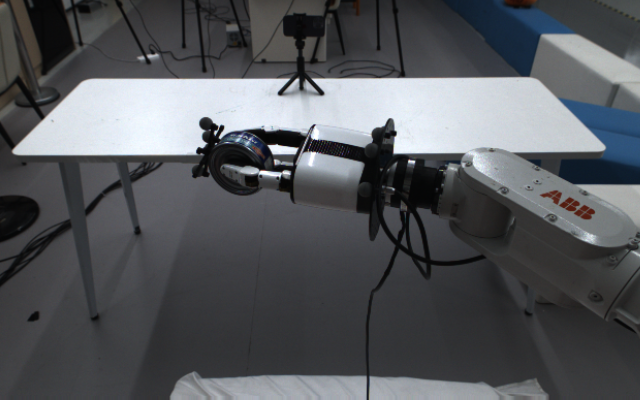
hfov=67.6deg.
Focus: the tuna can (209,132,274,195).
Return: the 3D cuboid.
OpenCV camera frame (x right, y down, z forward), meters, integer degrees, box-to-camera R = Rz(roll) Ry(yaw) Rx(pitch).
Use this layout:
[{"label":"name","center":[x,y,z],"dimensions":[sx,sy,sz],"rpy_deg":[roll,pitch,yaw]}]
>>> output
[{"label":"tuna can","center":[-0.105,-0.048,0.659],"dimensions":[0.085,0.085,0.034],"rpy_deg":[8,36,9]}]
